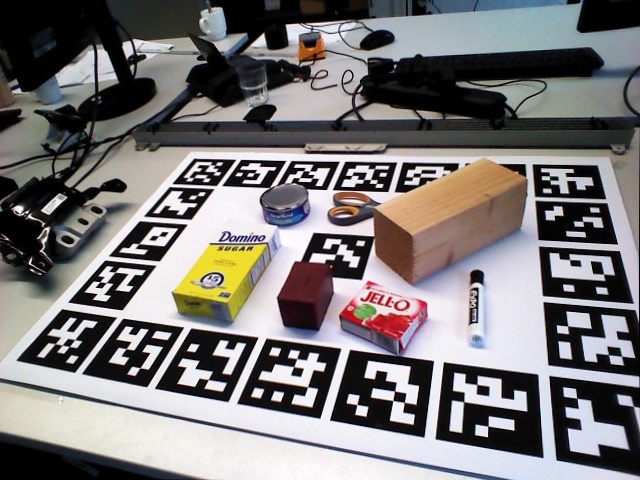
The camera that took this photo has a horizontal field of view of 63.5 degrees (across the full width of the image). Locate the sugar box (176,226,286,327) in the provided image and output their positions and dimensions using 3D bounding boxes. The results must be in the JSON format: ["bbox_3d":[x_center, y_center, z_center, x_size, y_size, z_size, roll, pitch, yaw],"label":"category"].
[{"bbox_3d":[-0.128,0.049,0.783,0.093,0.045,0.175,7,42,22],"label":"sugar box"}]

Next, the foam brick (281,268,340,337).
[{"bbox_3d":[-0.010,0.083,0.695,0.053,0.051,0.077,4,42,21],"label":"foam brick"}]

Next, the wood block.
[{"bbox_3d":[0.200,-0.023,0.748,0.205,0.091,0.090,-26,39,-17],"label":"wood block"}]

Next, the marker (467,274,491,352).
[{"bbox_3d":[0.204,0.088,0.659,0.020,0.020,0.120,4,44,20],"label":"marker"}]

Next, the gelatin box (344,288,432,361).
[{"bbox_3d":[0.088,0.105,0.664,0.090,0.030,0.073,18,48,33],"label":"gelatin box"}]

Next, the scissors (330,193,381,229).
[{"bbox_3d":[0.113,-0.043,0.852,0.204,0.016,0.087,7,42,26],"label":"scissors"}]

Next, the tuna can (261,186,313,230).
[{"bbox_3d":[-0.056,-0.056,0.895,0.086,0.034,0.085,-8,39,6],"label":"tuna can"}]
